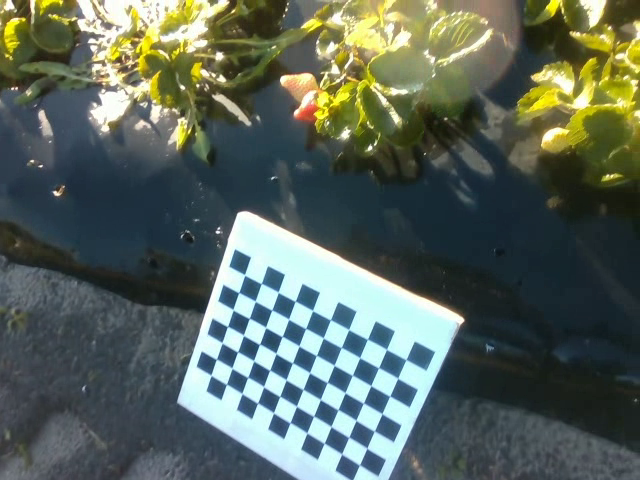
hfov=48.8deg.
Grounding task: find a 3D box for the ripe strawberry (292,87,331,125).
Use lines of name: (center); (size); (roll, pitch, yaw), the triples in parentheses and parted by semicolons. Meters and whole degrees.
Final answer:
ripe strawberry: (-0.011, -0.138, 0.732); (0.055, 0.038, 0.040); (-9, 15, -37)
